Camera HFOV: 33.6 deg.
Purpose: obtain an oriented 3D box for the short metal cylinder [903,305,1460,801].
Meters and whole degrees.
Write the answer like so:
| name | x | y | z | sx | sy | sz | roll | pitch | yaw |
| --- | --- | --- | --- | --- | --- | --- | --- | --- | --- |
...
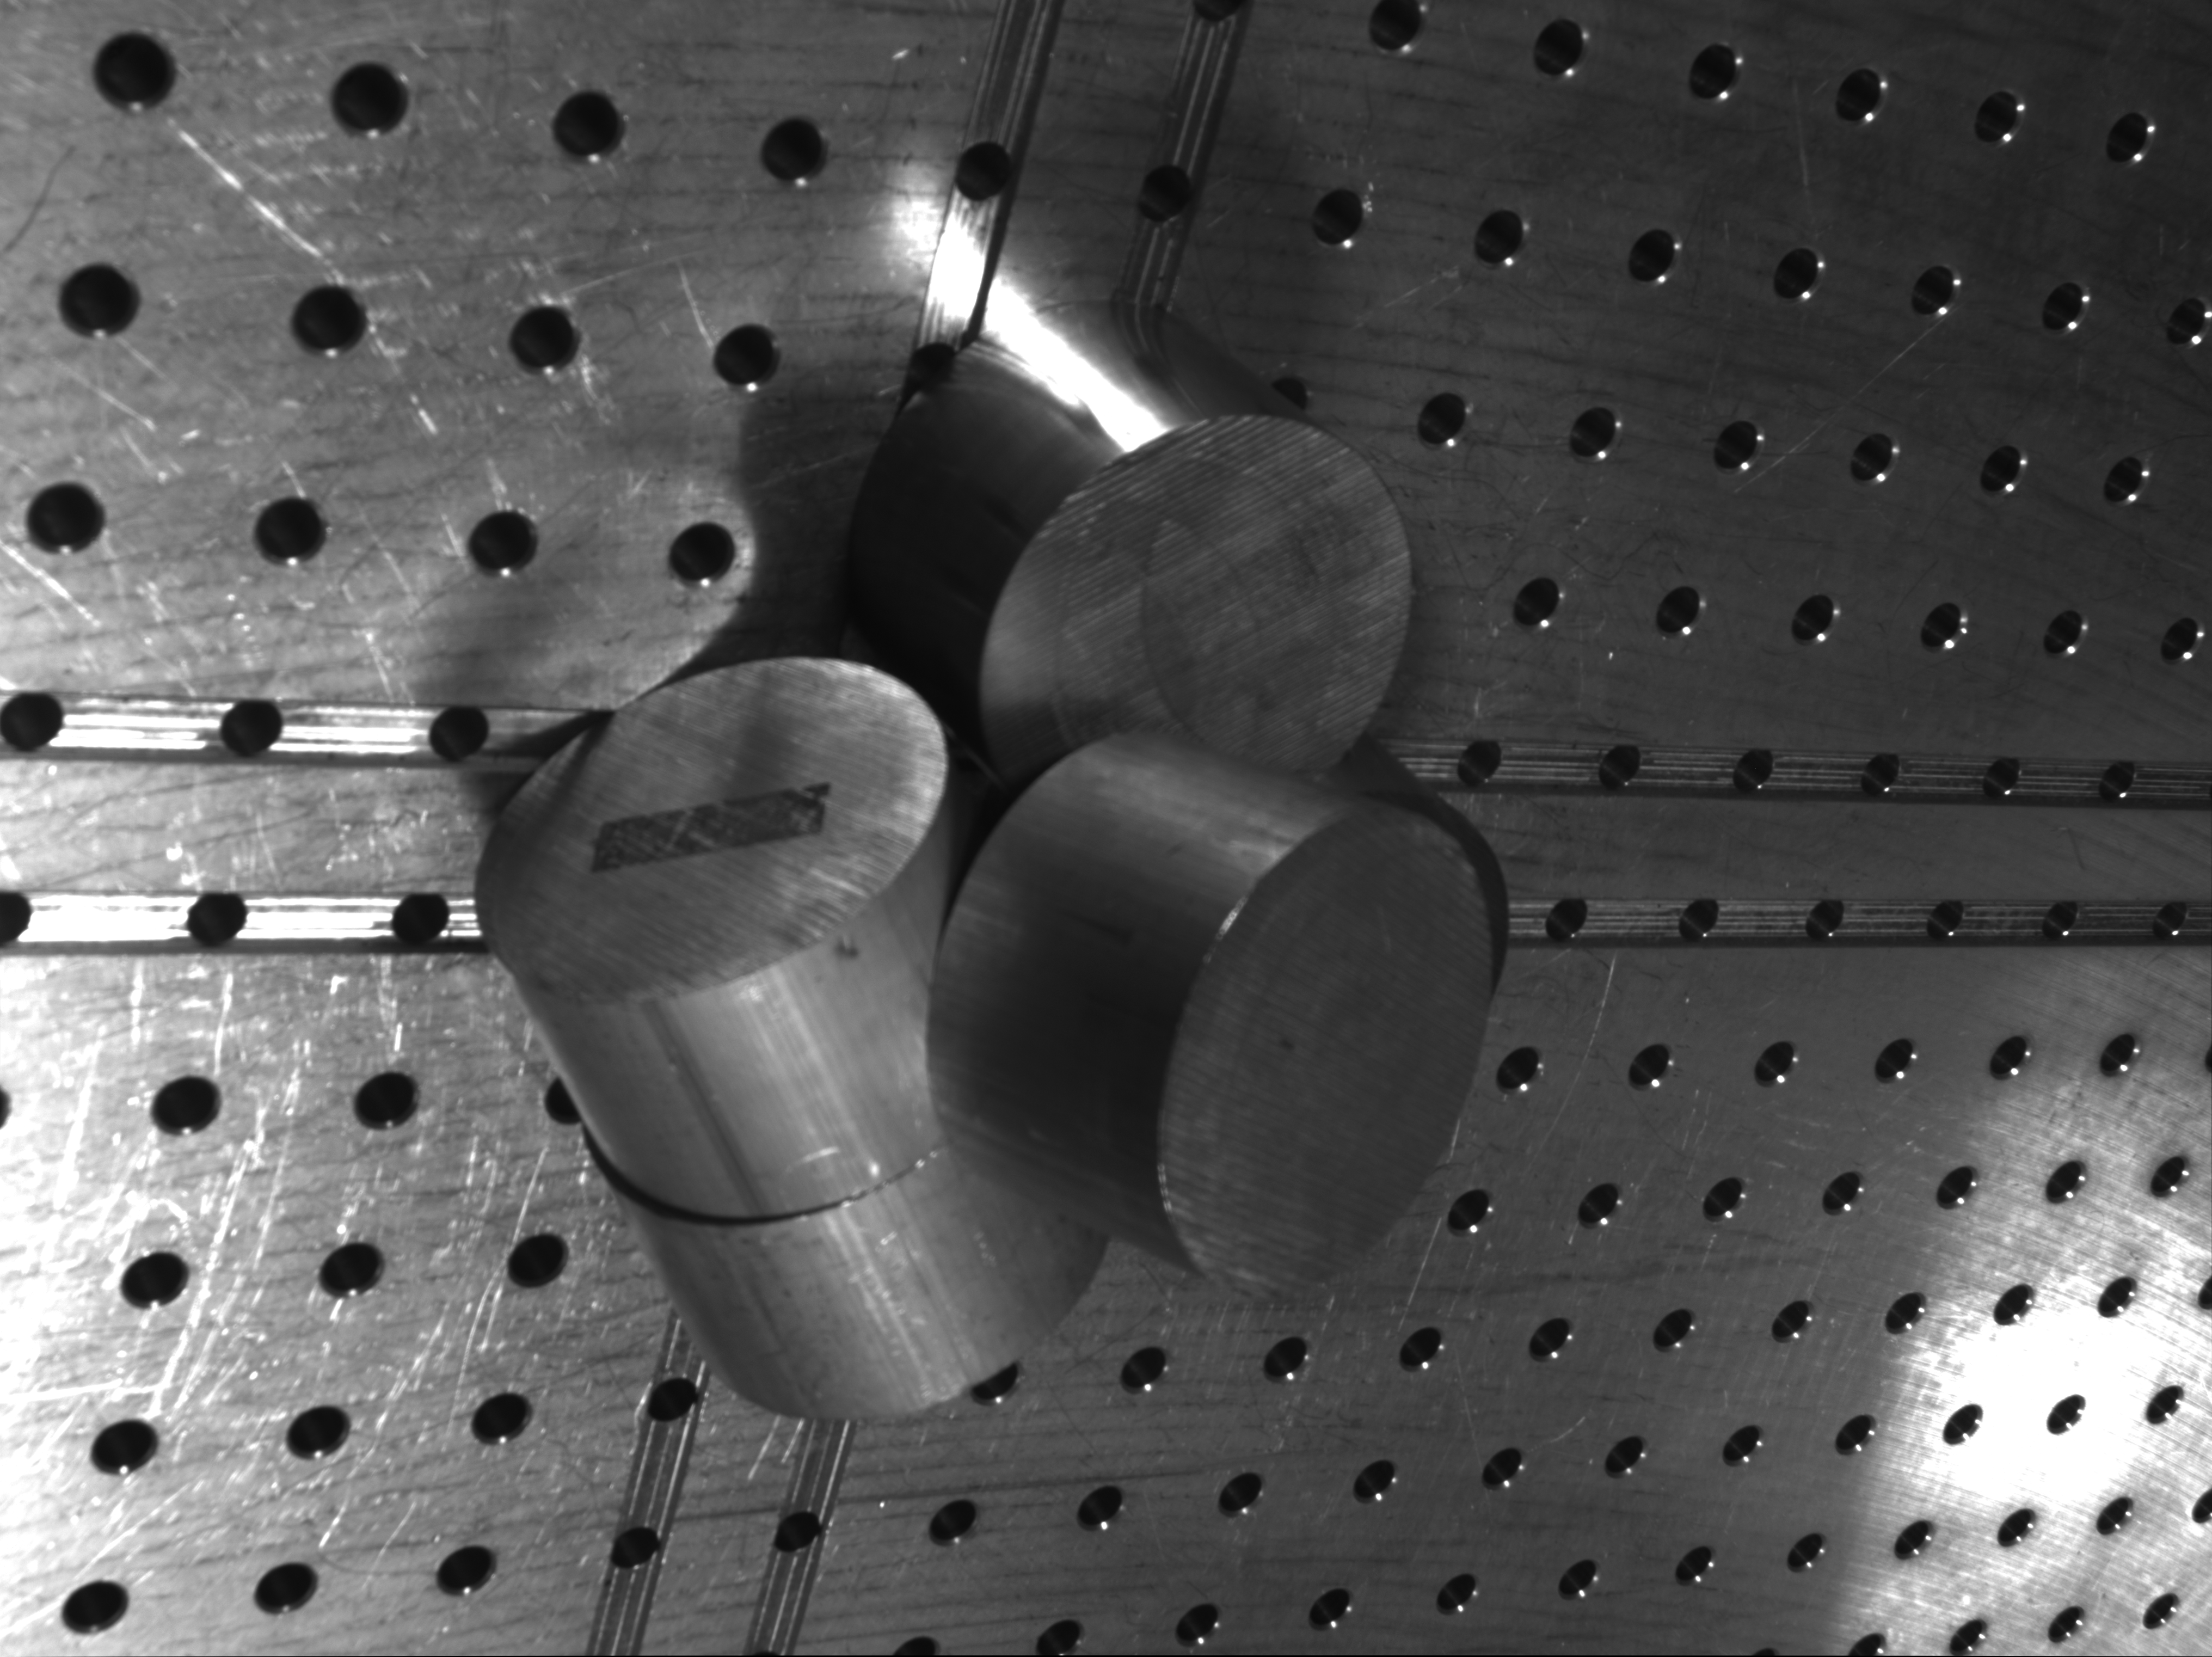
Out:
| name | x | y | z | sx | sy | sz | roll | pitch | yaw |
| --- | --- | --- | --- | --- | --- | --- | --- | --- | --- |
| short metal cylinder | 0.012 | -0.042 | 0.618 | 0.080 | 0.050 | 0.080 | -15 | 125 | -22 |

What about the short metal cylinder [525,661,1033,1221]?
| name | x | y | z | sx | sy | sz | roll | pitch | yaw |
| --- | --- | --- | --- | --- | --- | --- | --- | --- | --- |
| short metal cylinder | -0.048 | 0.018 | 0.601 | 0.080 | 0.080 | 0.050 | -30 | 129 | -11 |

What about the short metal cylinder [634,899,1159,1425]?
| name | x | y | z | sx | sy | sz | roll | pitch | yaw |
| --- | --- | --- | --- | --- | --- | --- | --- | --- | --- |
| short metal cylinder | -0.035 | 0.056 | 0.632 | 0.080 | 0.080 | 0.050 | -30 | 129 | -11 |

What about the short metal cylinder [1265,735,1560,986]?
| name | x | y | z | sx | sy | sz | roll | pitch | yaw |
| --- | --- | --- | --- | --- | --- | --- | --- | --- | --- |
| short metal cylinder | 0.035 | 0.018 | 0.668 | 0.080 | 0.050 | 0.080 | -15 | 125 | -22 |

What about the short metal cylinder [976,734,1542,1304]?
| name | x | y | z | sx | sy | sz | roll | pitch | yaw |
| --- | --- | --- | --- | --- | --- | --- | --- | --- | --- |
| short metal cylinder | 0.025 | 0.030 | 0.586 | 0.080 | 0.050 | 0.080 | -21 | 120 | -42 |
